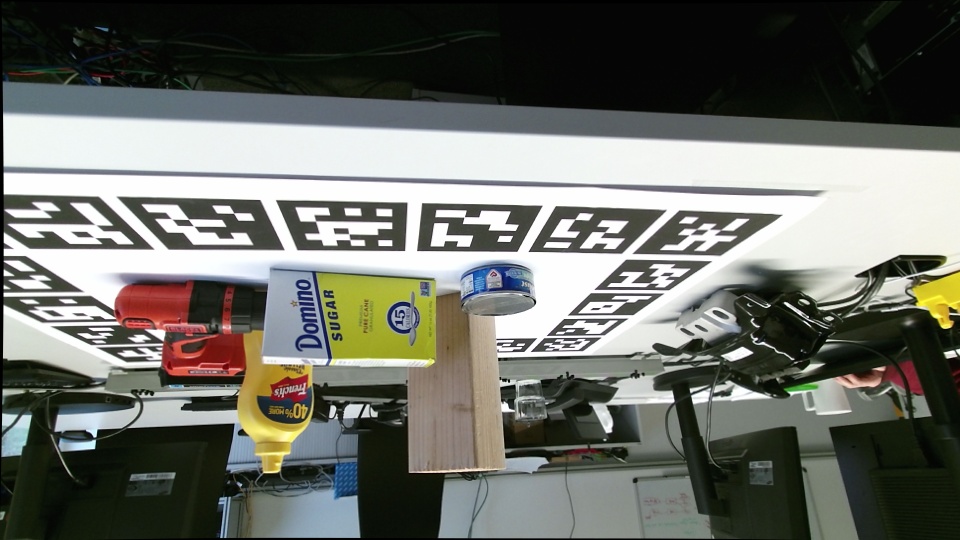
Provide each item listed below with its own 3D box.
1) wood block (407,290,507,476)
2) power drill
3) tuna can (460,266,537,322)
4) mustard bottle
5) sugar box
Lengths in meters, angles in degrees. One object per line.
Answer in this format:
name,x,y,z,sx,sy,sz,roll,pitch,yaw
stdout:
wood block,-0.030,0.141,0.665,0.091,0.205,0.090,-13,153,17
power drill,-0.298,0.080,0.637,0.185,0.057,0.187,5,146,-21
tuna can,0.020,0.028,0.605,0.086,0.033,0.086,-3,154,-2
mustard bottle,-0.254,0.154,0.666,0.058,0.190,0.096,-20,150,27
sugar box,-0.144,0.055,0.576,0.177,0.092,0.045,6,156,-19
